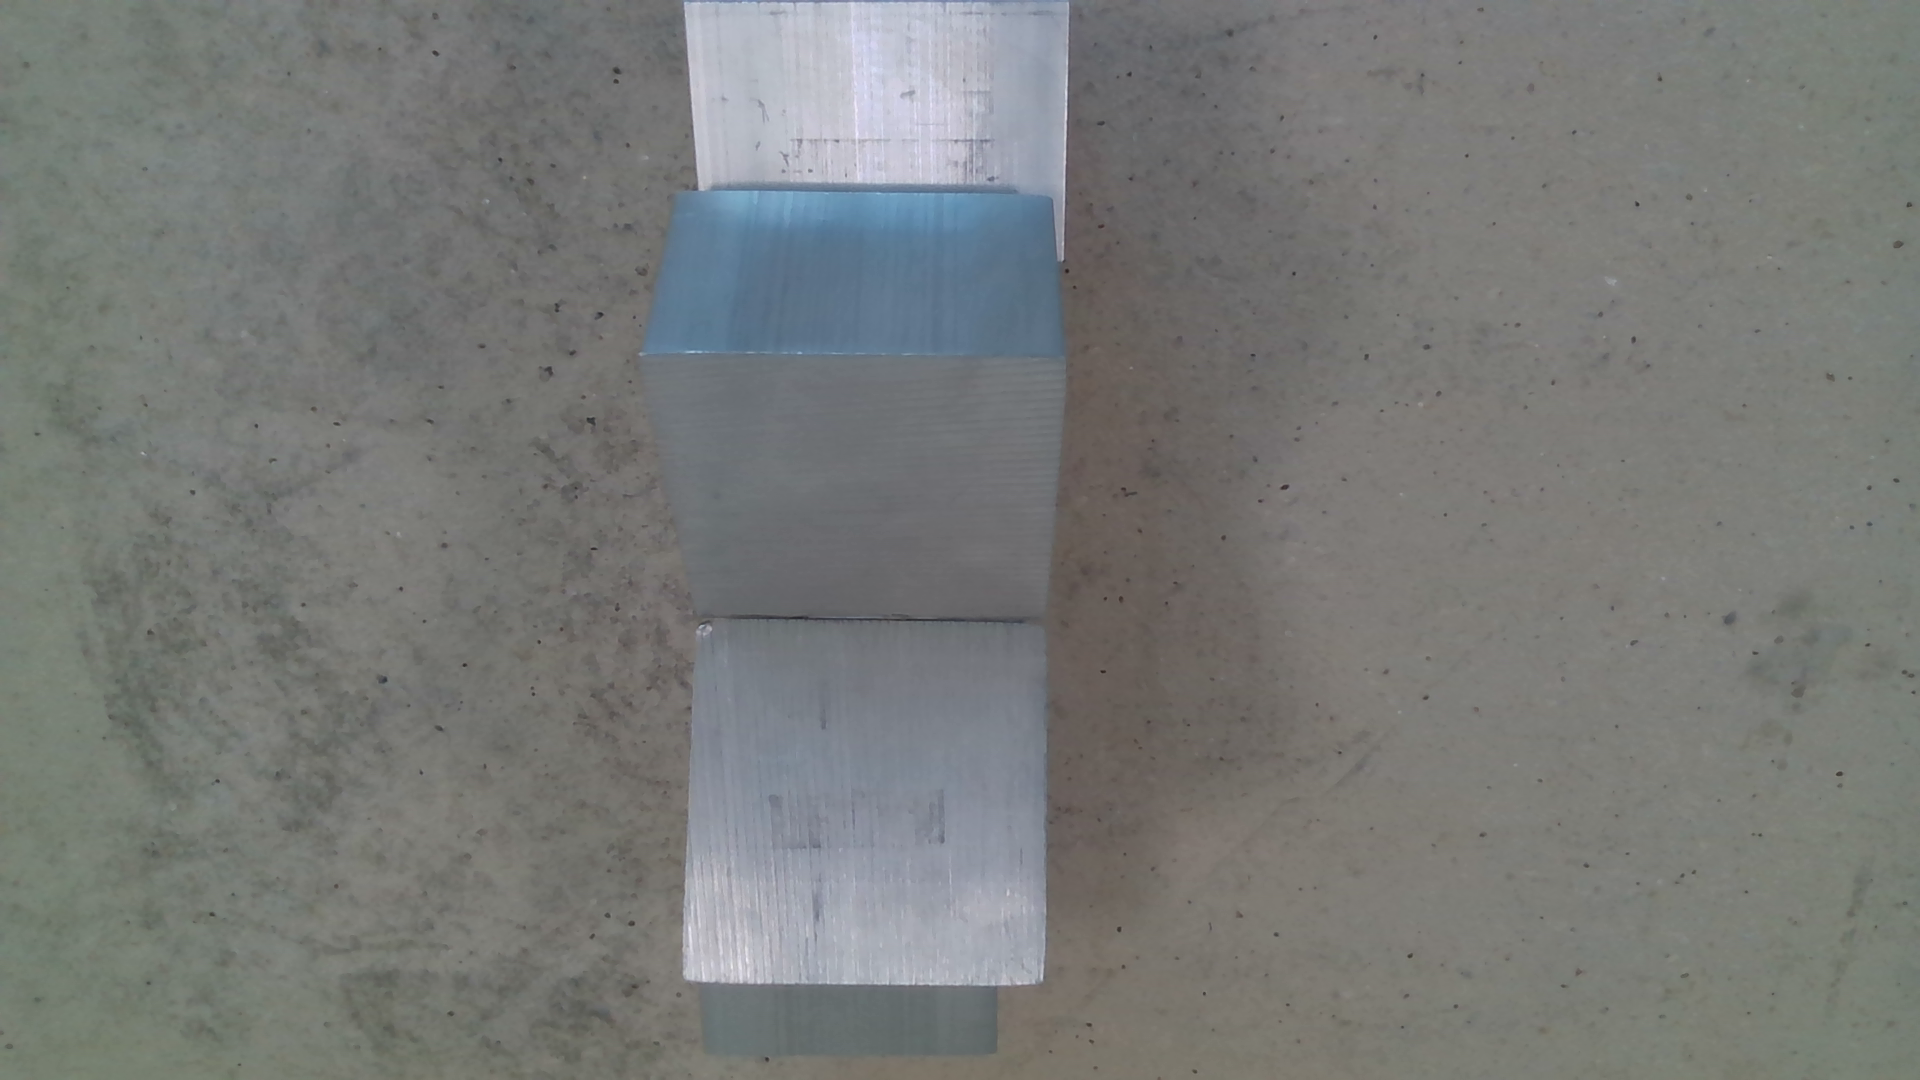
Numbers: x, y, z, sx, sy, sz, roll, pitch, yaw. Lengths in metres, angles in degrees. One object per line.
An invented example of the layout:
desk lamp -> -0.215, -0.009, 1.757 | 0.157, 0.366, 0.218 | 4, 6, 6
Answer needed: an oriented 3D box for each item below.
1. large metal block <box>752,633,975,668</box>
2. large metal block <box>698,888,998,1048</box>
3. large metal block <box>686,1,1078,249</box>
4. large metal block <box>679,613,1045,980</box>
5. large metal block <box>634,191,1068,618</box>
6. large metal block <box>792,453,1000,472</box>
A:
large metal block -> -0.023, 0.035, 0.392 | 0.080, 0.050, 0.080 | 0, 110, 0
large metal block -> -0.030, 0.101, 0.403 | 0.080, 0.080, 0.050 | 0, 111, 0
large metal block -> -0.016, -0.099, 0.327 | 0.080, 0.080, 0.050 | -1, 109, -1
large metal block -> -0.022, 0.060, 0.333 | 0.080, 0.050, 0.080 | 1, 83, -1
large metal block -> -0.020, -0.027, 0.300 | 0.080, 0.050, 0.080 | 0, 139, 0
large metal block -> -0.020, -0.041, 0.365 | 0.080, 0.050, 0.080 | 0, 110, 0
